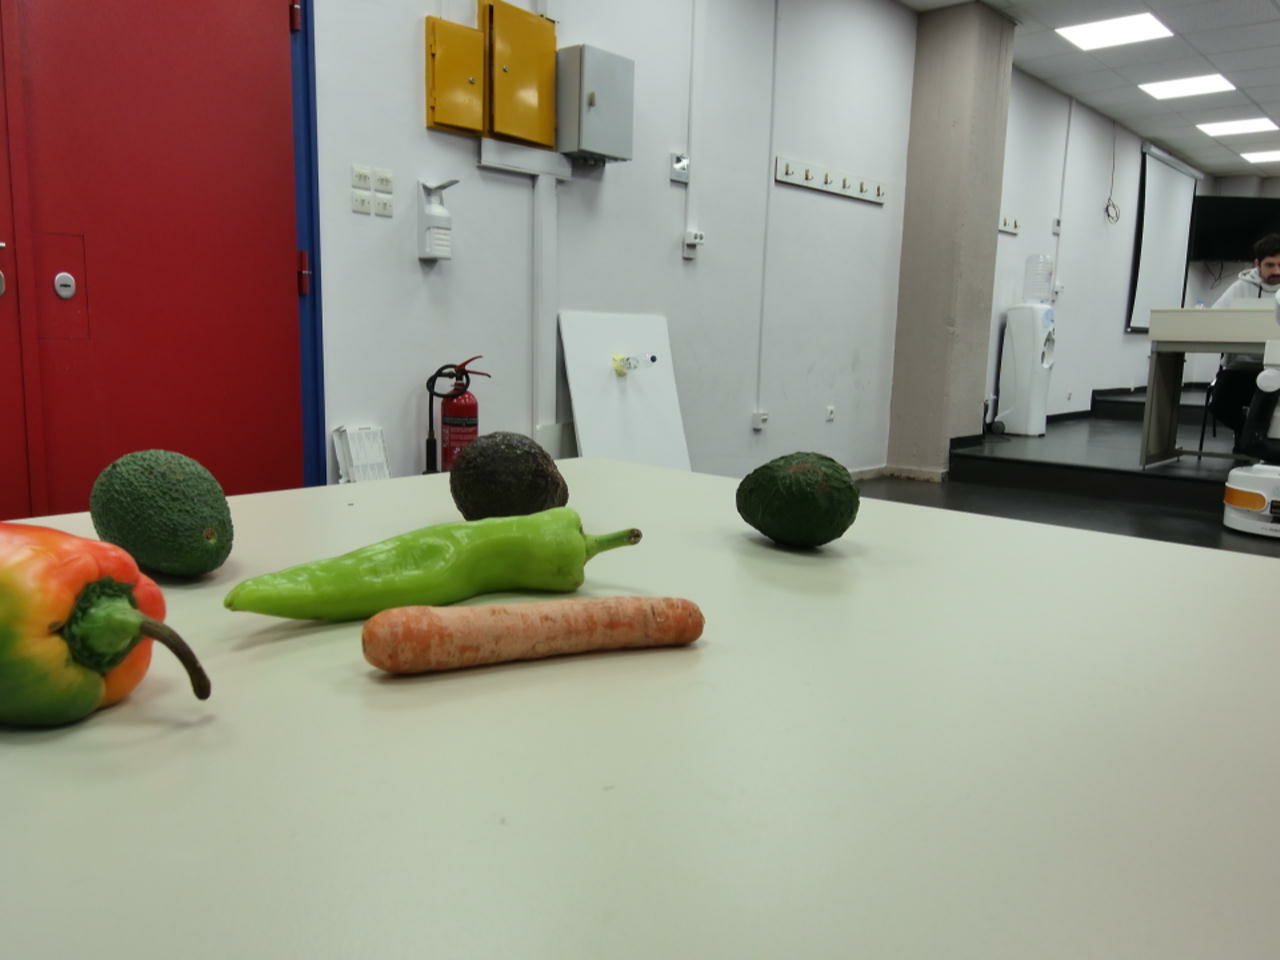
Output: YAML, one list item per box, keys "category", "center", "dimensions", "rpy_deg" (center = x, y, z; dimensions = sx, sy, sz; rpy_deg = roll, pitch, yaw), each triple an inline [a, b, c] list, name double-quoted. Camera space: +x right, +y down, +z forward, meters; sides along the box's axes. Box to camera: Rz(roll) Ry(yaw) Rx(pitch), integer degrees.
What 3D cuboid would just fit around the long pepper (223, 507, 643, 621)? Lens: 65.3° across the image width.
- category: "long pepper"
  center: [-0.102, 0.042, 0.501]
  dimensions: [0.204, 0.045, 0.065]
  rpy_deg: [-5, 8, -32]
